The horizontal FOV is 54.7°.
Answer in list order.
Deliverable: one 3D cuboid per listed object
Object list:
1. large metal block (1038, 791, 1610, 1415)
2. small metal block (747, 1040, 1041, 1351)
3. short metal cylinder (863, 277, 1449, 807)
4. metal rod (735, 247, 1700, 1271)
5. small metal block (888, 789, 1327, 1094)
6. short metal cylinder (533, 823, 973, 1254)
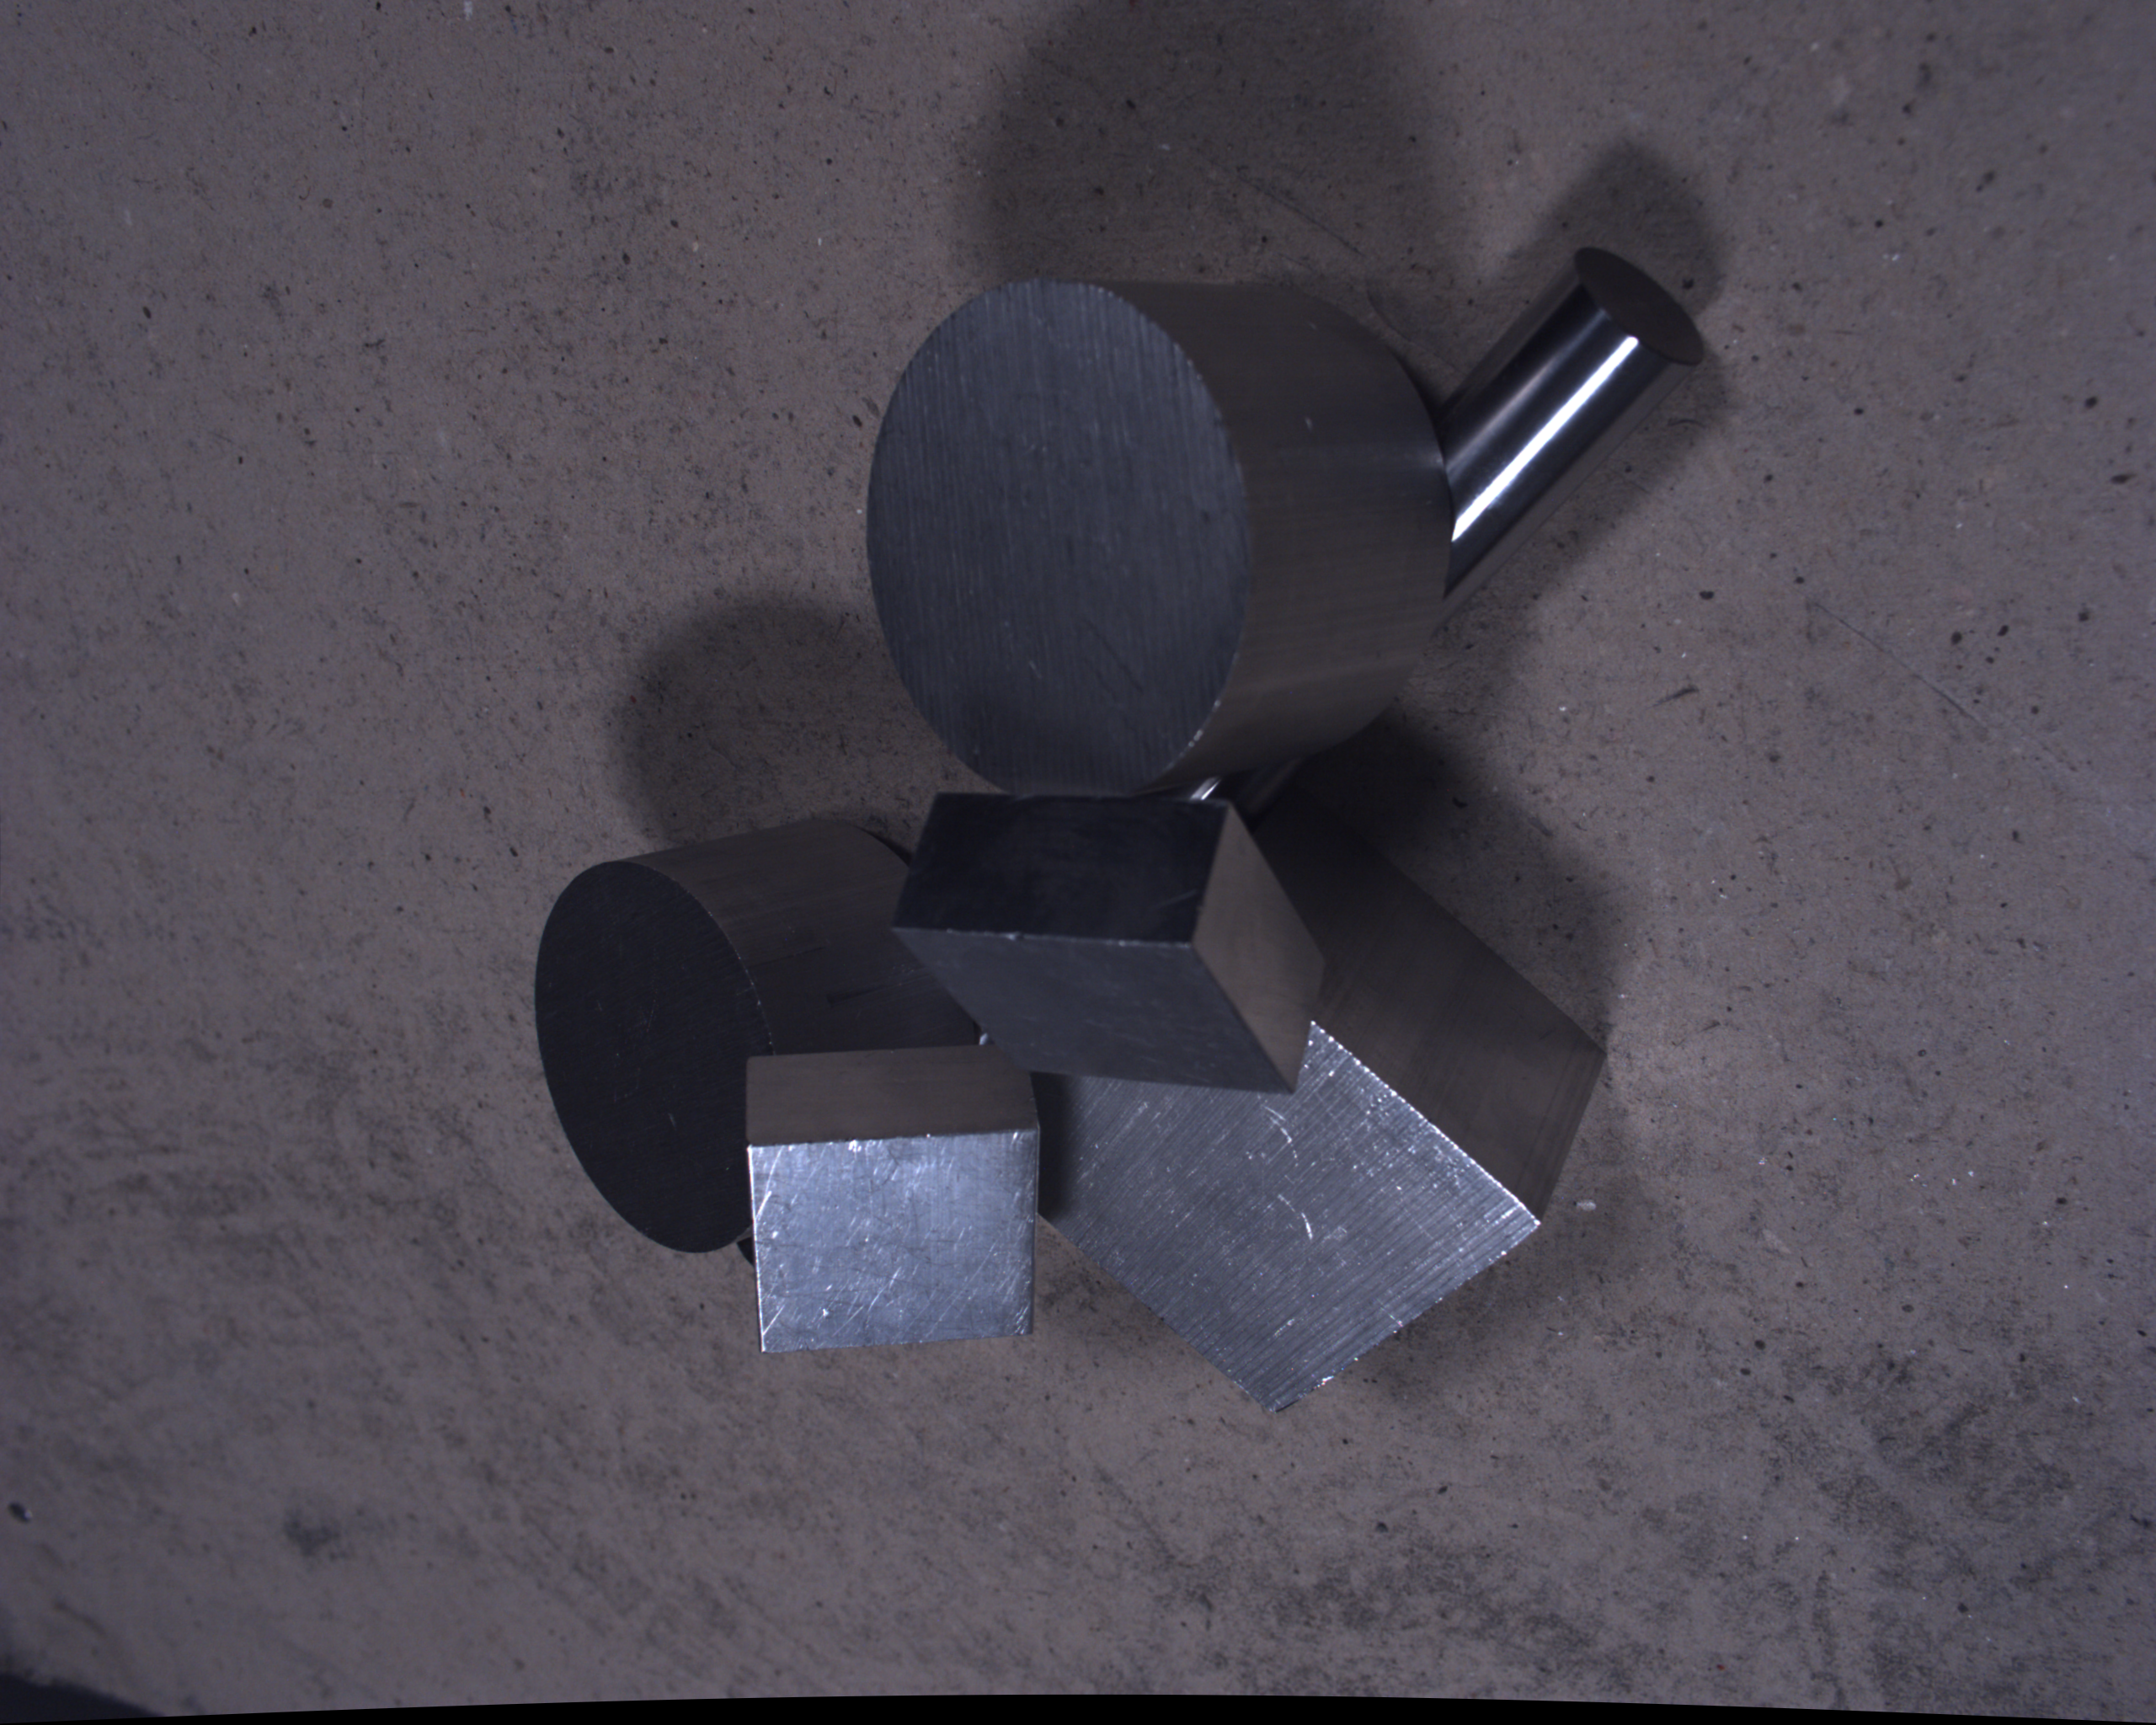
[{"bbox_3d":[0.039,0.046,0.397,0.080,0.050,0.080,41,129,-1],"label":"large metal block"},{"bbox_3d":[-0.034,0.061,0.382,0.050,0.025,0.050,-3,123,-8],"label":"small metal block"},{"bbox_3d":[0.011,-0.052,0.334,0.080,0.050,0.079,12,108,42],"label":"short metal cylinder"},{"bbox_3d":[0.006,0.003,0.405,0.025,0.025,0.298,41,129,-1],"label":"metal rod"},{"bbox_3d":[0.006,0.013,0.331,0.050,0.025,0.050,2,150,27],"label":"small metal block"},{"bbox_3d":[-0.068,0.034,0.429,0.080,0.050,0.079,12,108,41],"label":"short metal cylinder"}]
